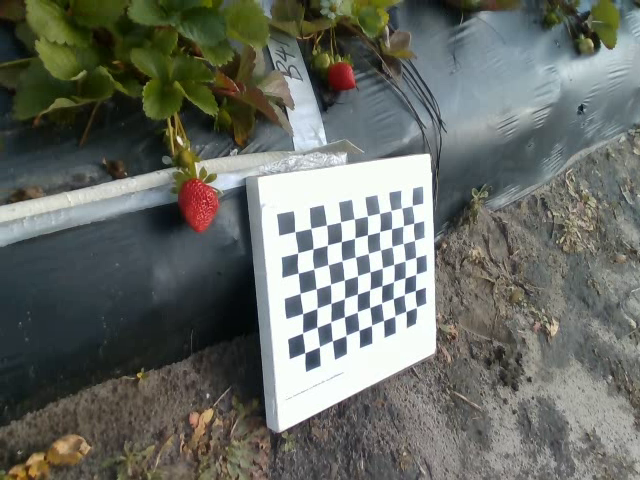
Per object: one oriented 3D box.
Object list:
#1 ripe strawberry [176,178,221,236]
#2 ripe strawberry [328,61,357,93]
[{"bbox_3d":[-0.102,-0.028,0.536,0.030,0.052,0.048,-19,-40,31],"label":"ripe strawberry"},{"bbox_3d":[0.028,-0.181,0.710,0.038,0.030,0.047,5,38,-45],"label":"ripe strawberry"}]
